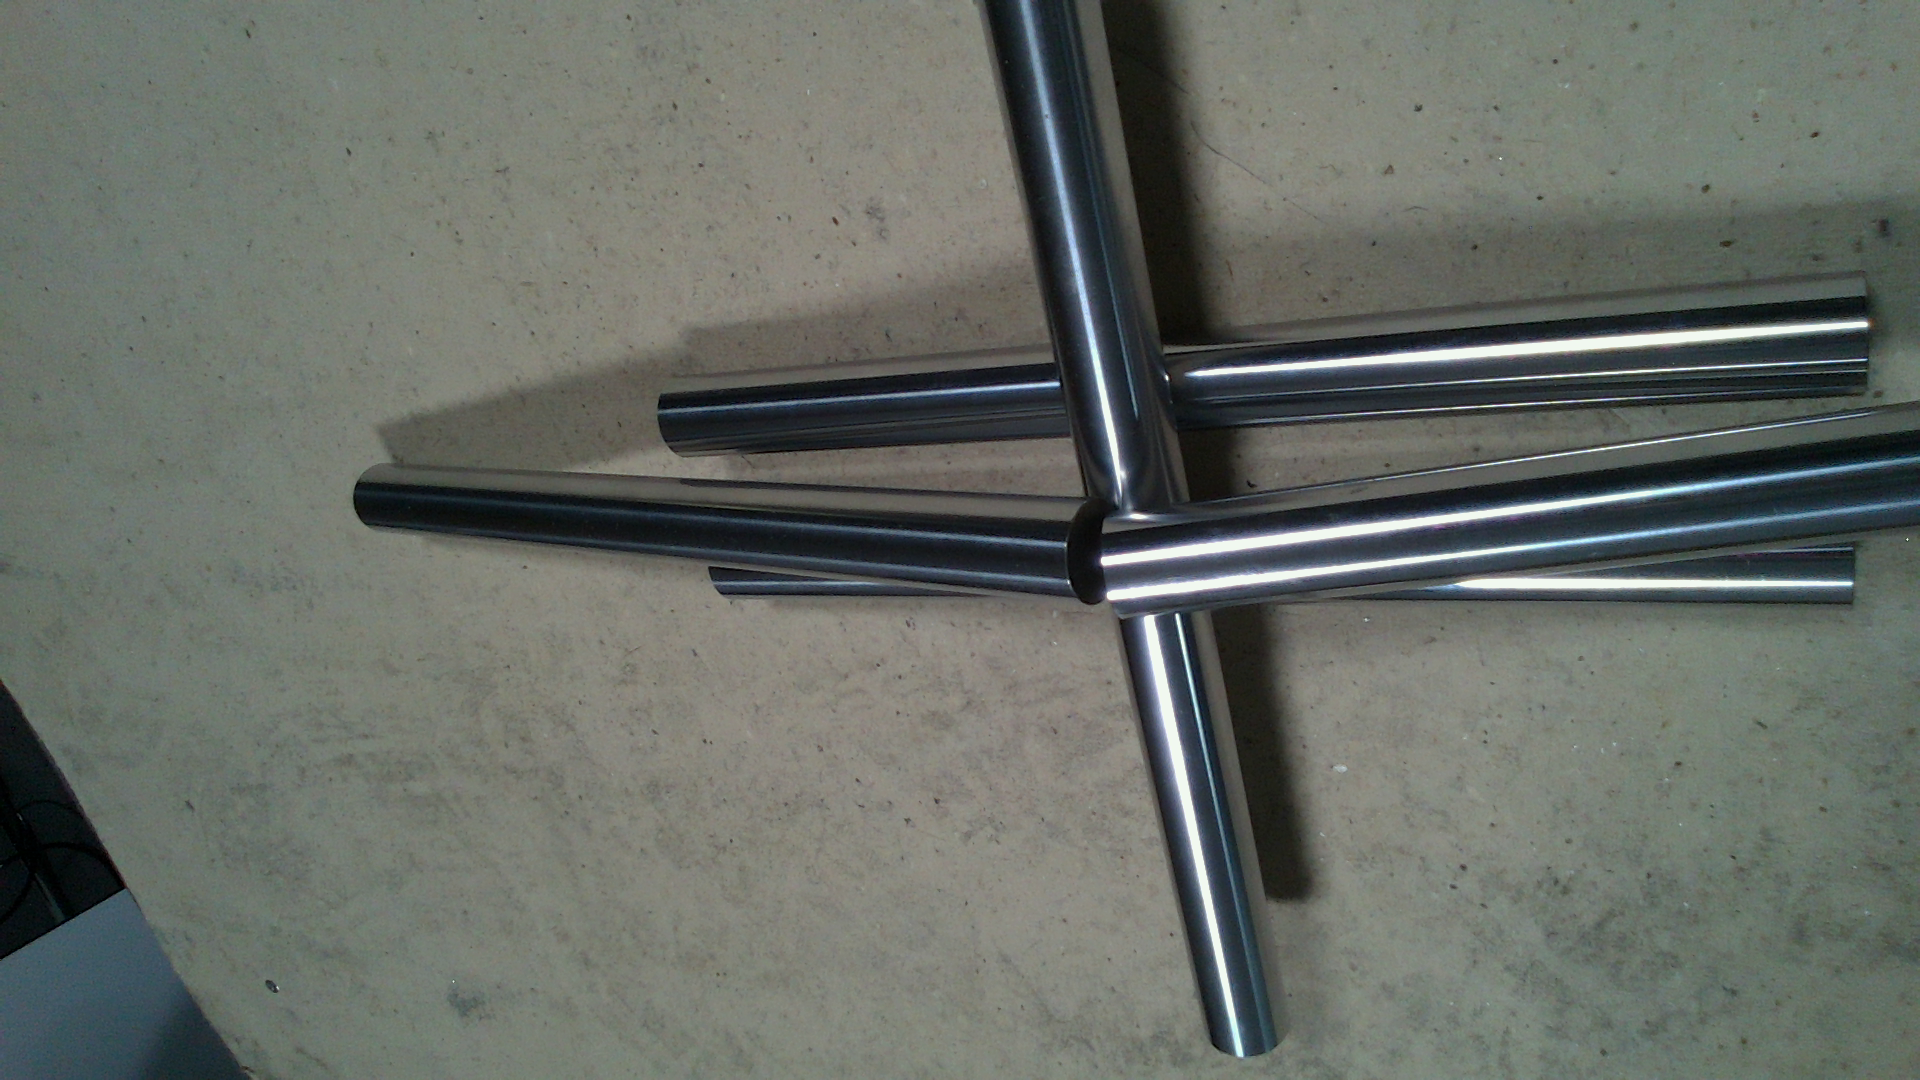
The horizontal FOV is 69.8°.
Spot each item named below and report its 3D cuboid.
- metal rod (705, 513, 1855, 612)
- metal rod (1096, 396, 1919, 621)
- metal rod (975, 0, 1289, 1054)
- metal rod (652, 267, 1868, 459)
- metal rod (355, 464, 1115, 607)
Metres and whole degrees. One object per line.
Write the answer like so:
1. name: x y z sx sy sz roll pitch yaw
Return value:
1. metal rod: 0.058 0.005 0.364 0.299 0.025 0.025 -1 118 29
2. metal rod: 0.173 -0.013 0.260 0.299 0.025 0.025 -8 115 21
3. metal rod: 0.048 0.009 0.340 0.025 0.025 0.300 -1 118 29
4. metal rod: 0.047 -0.039 0.343 0.299 0.025 0.025 -1 118 29
5. metal rod: -0.087 -0.006 0.403 0.299 0.025 0.025 4 121 37
